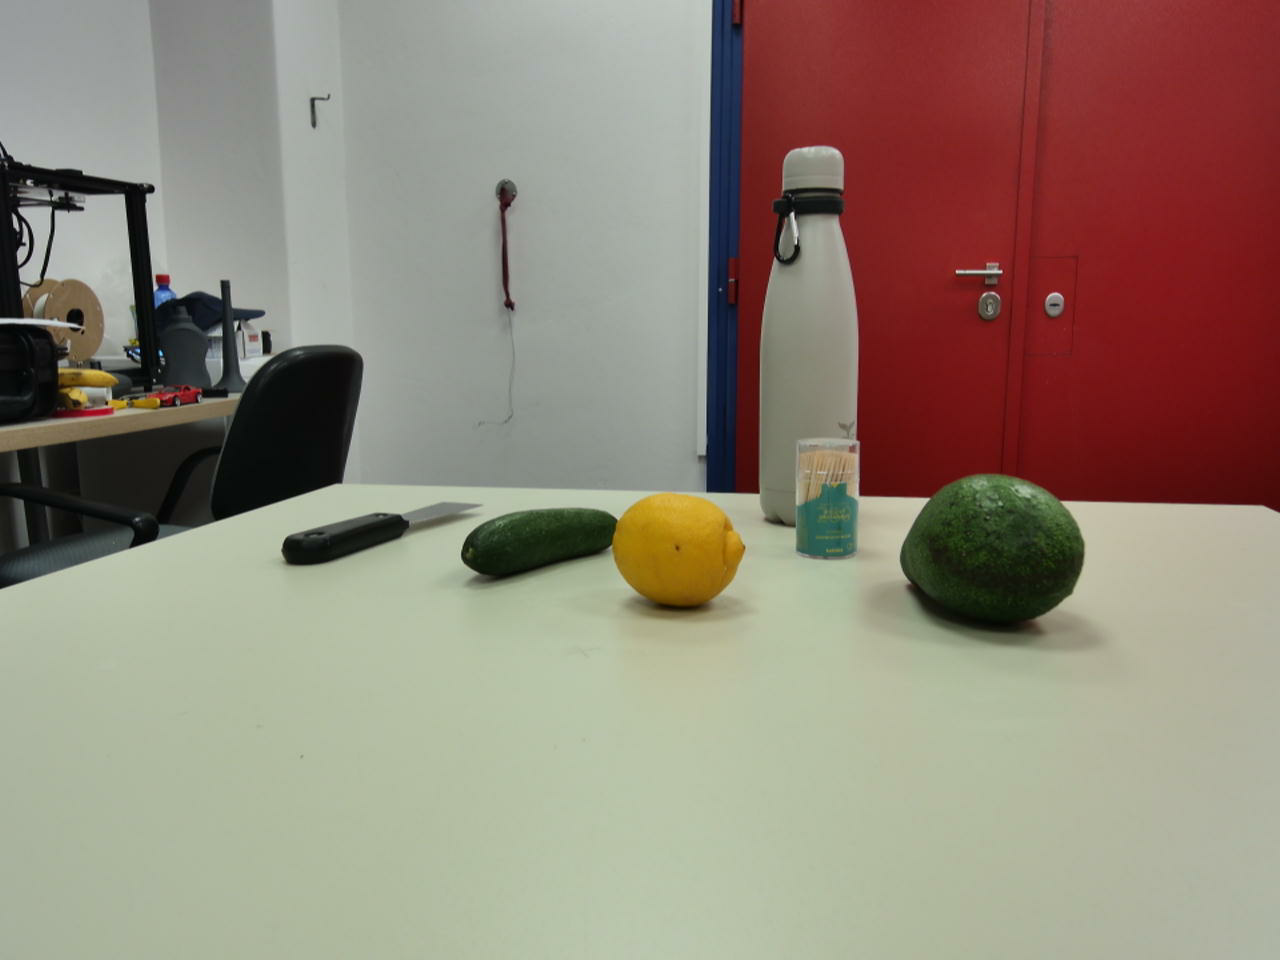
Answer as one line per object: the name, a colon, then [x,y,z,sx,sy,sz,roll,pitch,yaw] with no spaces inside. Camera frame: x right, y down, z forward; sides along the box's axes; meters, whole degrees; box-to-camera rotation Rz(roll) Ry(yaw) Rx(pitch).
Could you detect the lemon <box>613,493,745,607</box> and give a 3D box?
lemon: [0.019,0.037,0.532,0.060,0.059,0.067,-3,8,-36]
